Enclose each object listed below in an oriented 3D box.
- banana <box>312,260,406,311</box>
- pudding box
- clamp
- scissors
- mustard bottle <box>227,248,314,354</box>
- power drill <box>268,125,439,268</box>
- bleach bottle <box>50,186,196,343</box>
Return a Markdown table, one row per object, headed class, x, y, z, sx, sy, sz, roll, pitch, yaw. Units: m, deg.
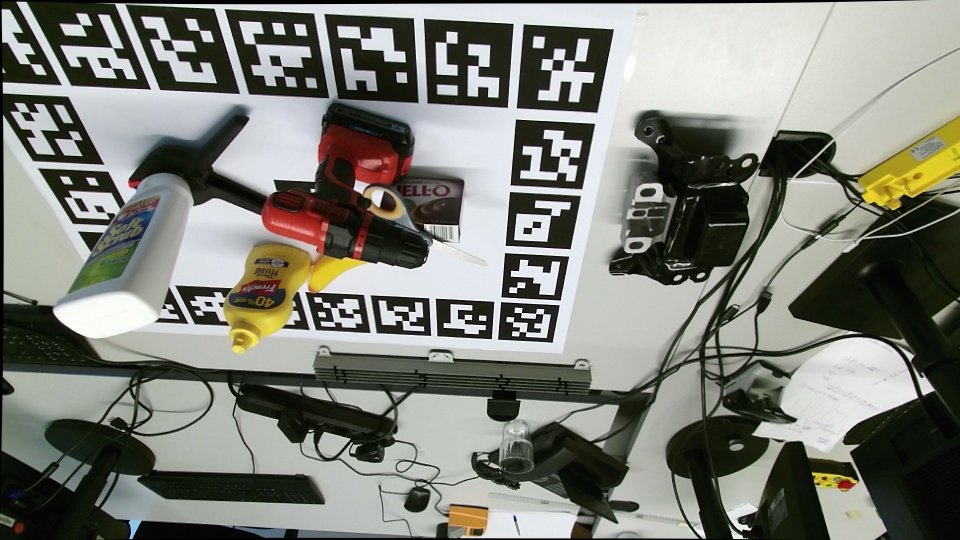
| class | x | y | z | sx | sy | sz | roll | pitch | yaw |
| --- | --- | --- | --- | --- | --- | --- | --- | --- | --- |
| banana | -0.213 | 0.020 | 0.867 | 0.198 | 0.038 | 0.074 | -29 | 141 | 26 |
| pudding box | -0.075 | -0.073 | 0.749 | 0.114 | 0.089 | 0.039 | 6 | 139 | -2 |
| clamp | -0.391 | -0.109 | 0.749 | 0.203 | 0.036 | 0.165 | -1 | 130 | 6 |
| scissors | -0.069 | -0.024 | 0.706 | 0.203 | 0.016 | 0.088 | 25 | 125 | -12 |
| mustard bottle | -0.324 | 0.048 | 0.810 | 0.096 | 0.190 | 0.058 | 14 | 131 | -8 |
| power drill | -0.135 | -0.087 | 0.636 | 0.185 | 0.186 | 0.057 | 11 | 138 | -10 |
| bleach bottle | -0.430 | -0.030 | 0.682 | 0.103 | 0.249 | 0.068 | -16 | 133 | 7 |
